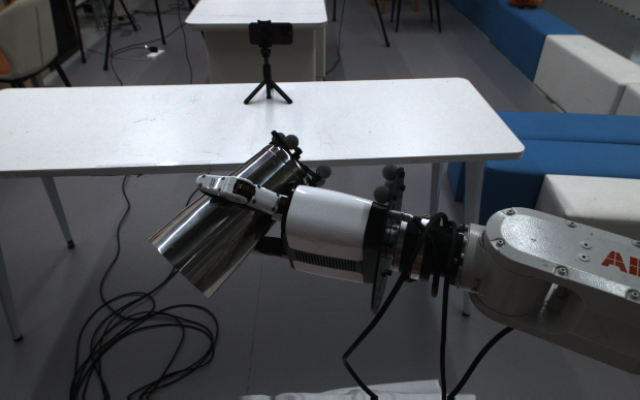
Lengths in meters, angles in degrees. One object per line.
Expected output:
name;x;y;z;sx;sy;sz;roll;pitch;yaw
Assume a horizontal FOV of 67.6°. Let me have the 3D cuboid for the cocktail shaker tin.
cocktail shaker tin;-0.094;0.013;0.546;0.170;0.093;0.093;-43;50;-14
